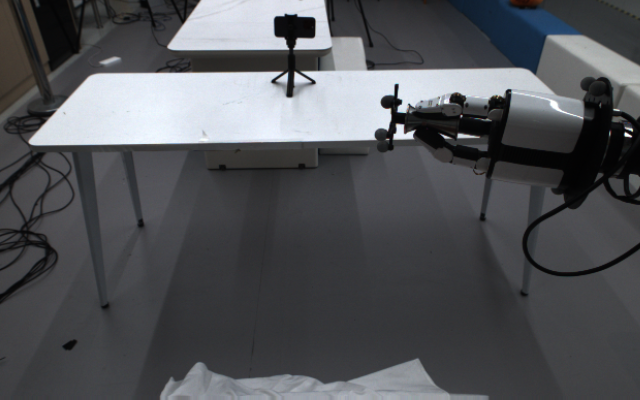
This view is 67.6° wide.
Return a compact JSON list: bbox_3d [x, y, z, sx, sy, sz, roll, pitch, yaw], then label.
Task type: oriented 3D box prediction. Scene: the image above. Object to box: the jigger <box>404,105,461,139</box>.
[{"bbox_3d":[0.154,-0.108,0.636,0.071,0.043,0.043,8,35,12],"label":"jigger"}]
